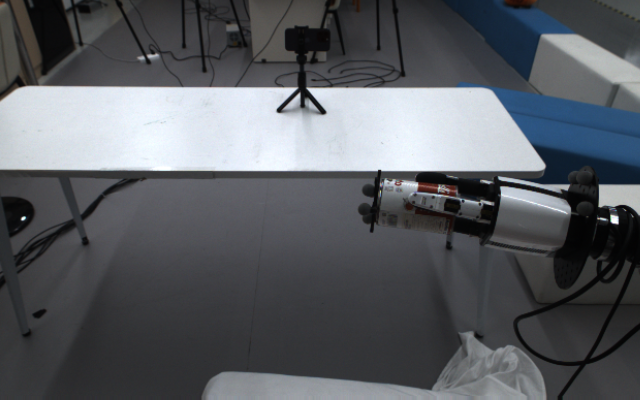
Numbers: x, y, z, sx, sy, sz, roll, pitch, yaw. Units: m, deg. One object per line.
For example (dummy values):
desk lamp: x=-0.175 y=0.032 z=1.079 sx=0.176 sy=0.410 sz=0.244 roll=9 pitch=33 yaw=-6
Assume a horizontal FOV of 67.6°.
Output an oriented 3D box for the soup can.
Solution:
soup can: x=0.134 y=0.007 z=0.661 sx=0.101 sy=0.067 sz=0.067 roll=6 pitch=35 yaw=10
